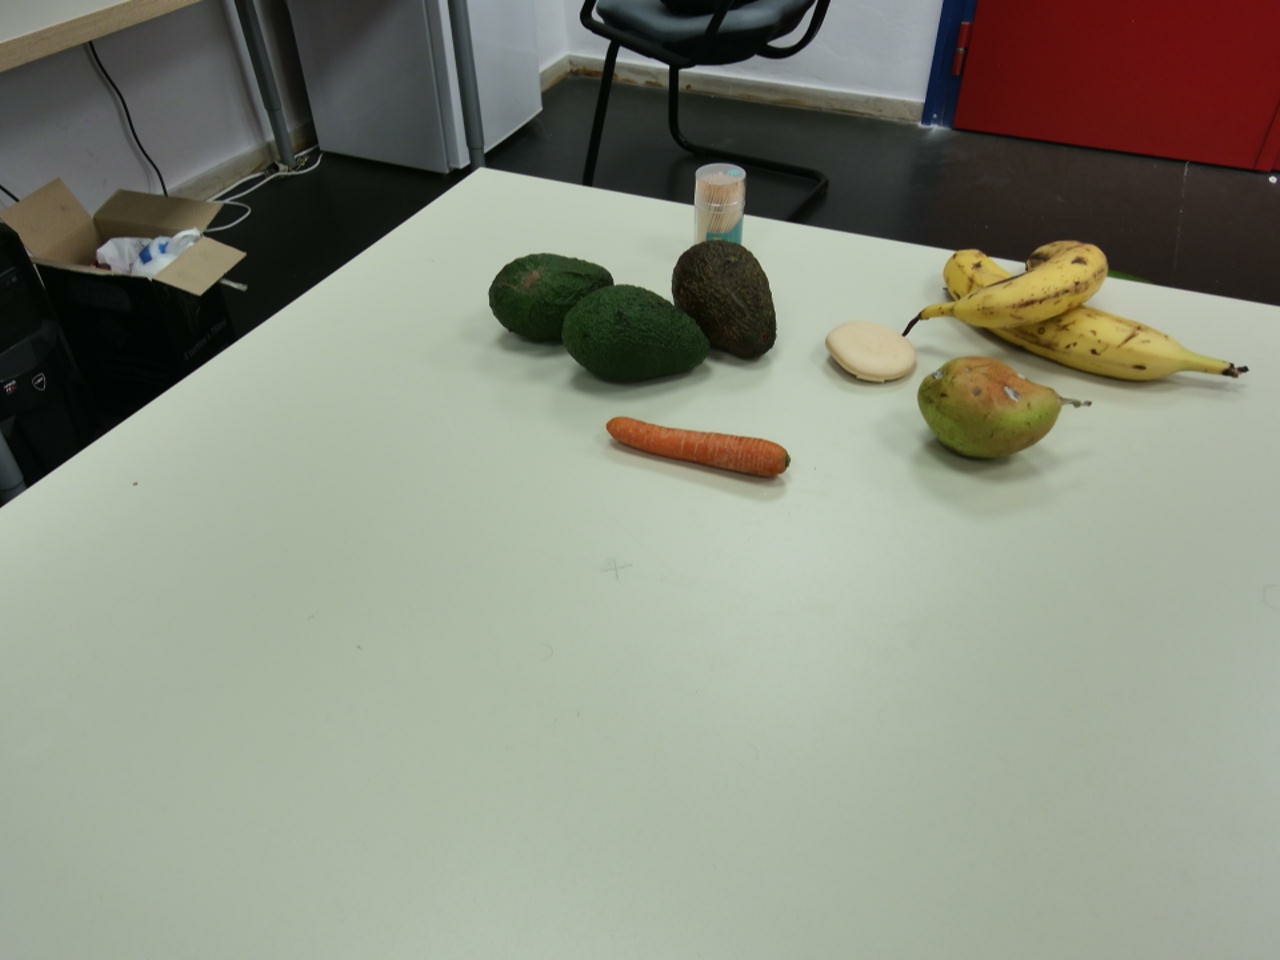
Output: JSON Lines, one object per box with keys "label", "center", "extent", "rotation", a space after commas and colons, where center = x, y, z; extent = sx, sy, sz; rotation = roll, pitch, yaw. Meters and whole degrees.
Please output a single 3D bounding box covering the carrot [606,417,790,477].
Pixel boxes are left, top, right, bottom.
{"label": "carrot", "center": [0.035, -0.023, 0.636], "extent": [0.122, 0.023, 0.024], "rotation": [14, 40, 17]}
